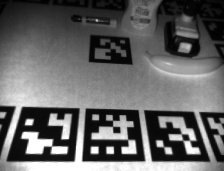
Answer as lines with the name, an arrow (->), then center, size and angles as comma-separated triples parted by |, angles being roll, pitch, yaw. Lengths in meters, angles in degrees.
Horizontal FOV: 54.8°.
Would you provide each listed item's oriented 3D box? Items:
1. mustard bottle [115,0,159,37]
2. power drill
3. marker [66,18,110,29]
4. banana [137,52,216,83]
mustard bottle -> 0.067, -0.213, 0.540 | 0.096, 0.192, 0.058 | 11, 52, 0
power drill -> 0.175, -0.167, 0.501 | 0.057, 0.187, 0.184 | 14, 50, 2
marker -> -0.067, -0.174, 0.600 | 0.121, 0.020, 0.019 | 4, 54, -5
banana -> 0.157, -0.040, 0.524 | 0.197, 0.039, 0.074 | 8, 54, 0
